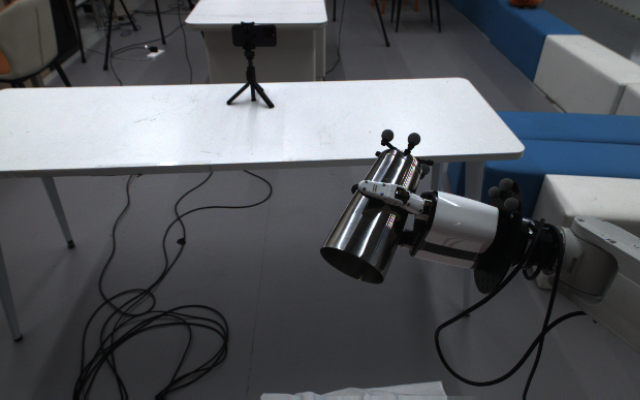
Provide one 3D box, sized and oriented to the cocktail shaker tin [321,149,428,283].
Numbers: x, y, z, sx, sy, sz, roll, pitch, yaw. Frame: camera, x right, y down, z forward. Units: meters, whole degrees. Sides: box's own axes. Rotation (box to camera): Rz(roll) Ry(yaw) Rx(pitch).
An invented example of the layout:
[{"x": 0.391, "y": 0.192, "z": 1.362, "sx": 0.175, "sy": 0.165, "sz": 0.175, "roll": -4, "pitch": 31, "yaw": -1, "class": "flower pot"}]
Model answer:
[{"x": 0.081, "y": 0.014, "z": 0.655, "sx": 0.093, "sy": 0.093, "sz": 0.170, "roll": 18, "pitch": 66, "yaw": 21, "class": "cocktail shaker tin"}]
